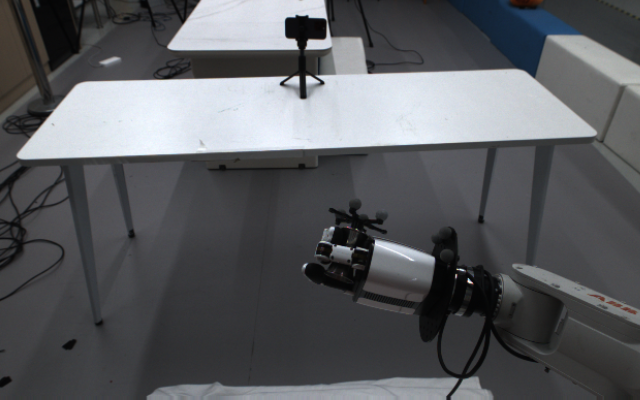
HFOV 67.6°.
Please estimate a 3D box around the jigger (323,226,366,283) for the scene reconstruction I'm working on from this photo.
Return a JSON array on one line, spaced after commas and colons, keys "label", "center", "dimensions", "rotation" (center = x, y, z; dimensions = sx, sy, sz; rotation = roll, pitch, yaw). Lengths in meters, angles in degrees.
[{"label": "jigger", "center": [0.038, 0.074, 0.663], "dimensions": [0.043, 0.043, 0.071], "rotation": [15, 70, 18]}]
